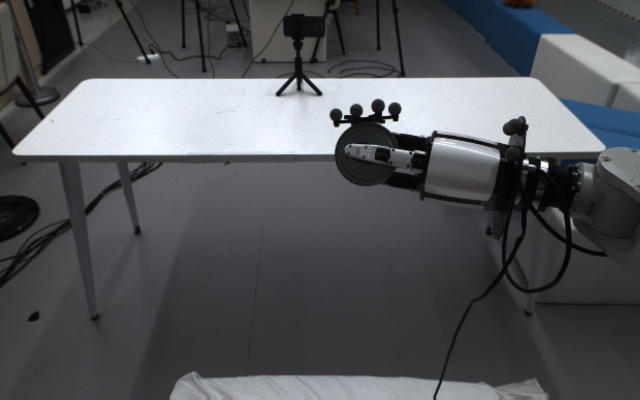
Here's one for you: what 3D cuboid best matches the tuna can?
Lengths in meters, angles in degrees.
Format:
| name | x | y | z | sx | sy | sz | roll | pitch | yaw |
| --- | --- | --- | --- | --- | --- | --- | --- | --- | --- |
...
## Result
| name | x | y | z | sx | sy | sz | roll | pitch | yaw |
| --- | --- | --- | --- | --- | --- | --- | --- | --- | --- |
| tuna can | 0.066 | -0.062 | 0.657 | 0.085 | 0.085 | 0.034 | 10 | 3 | 11 |
